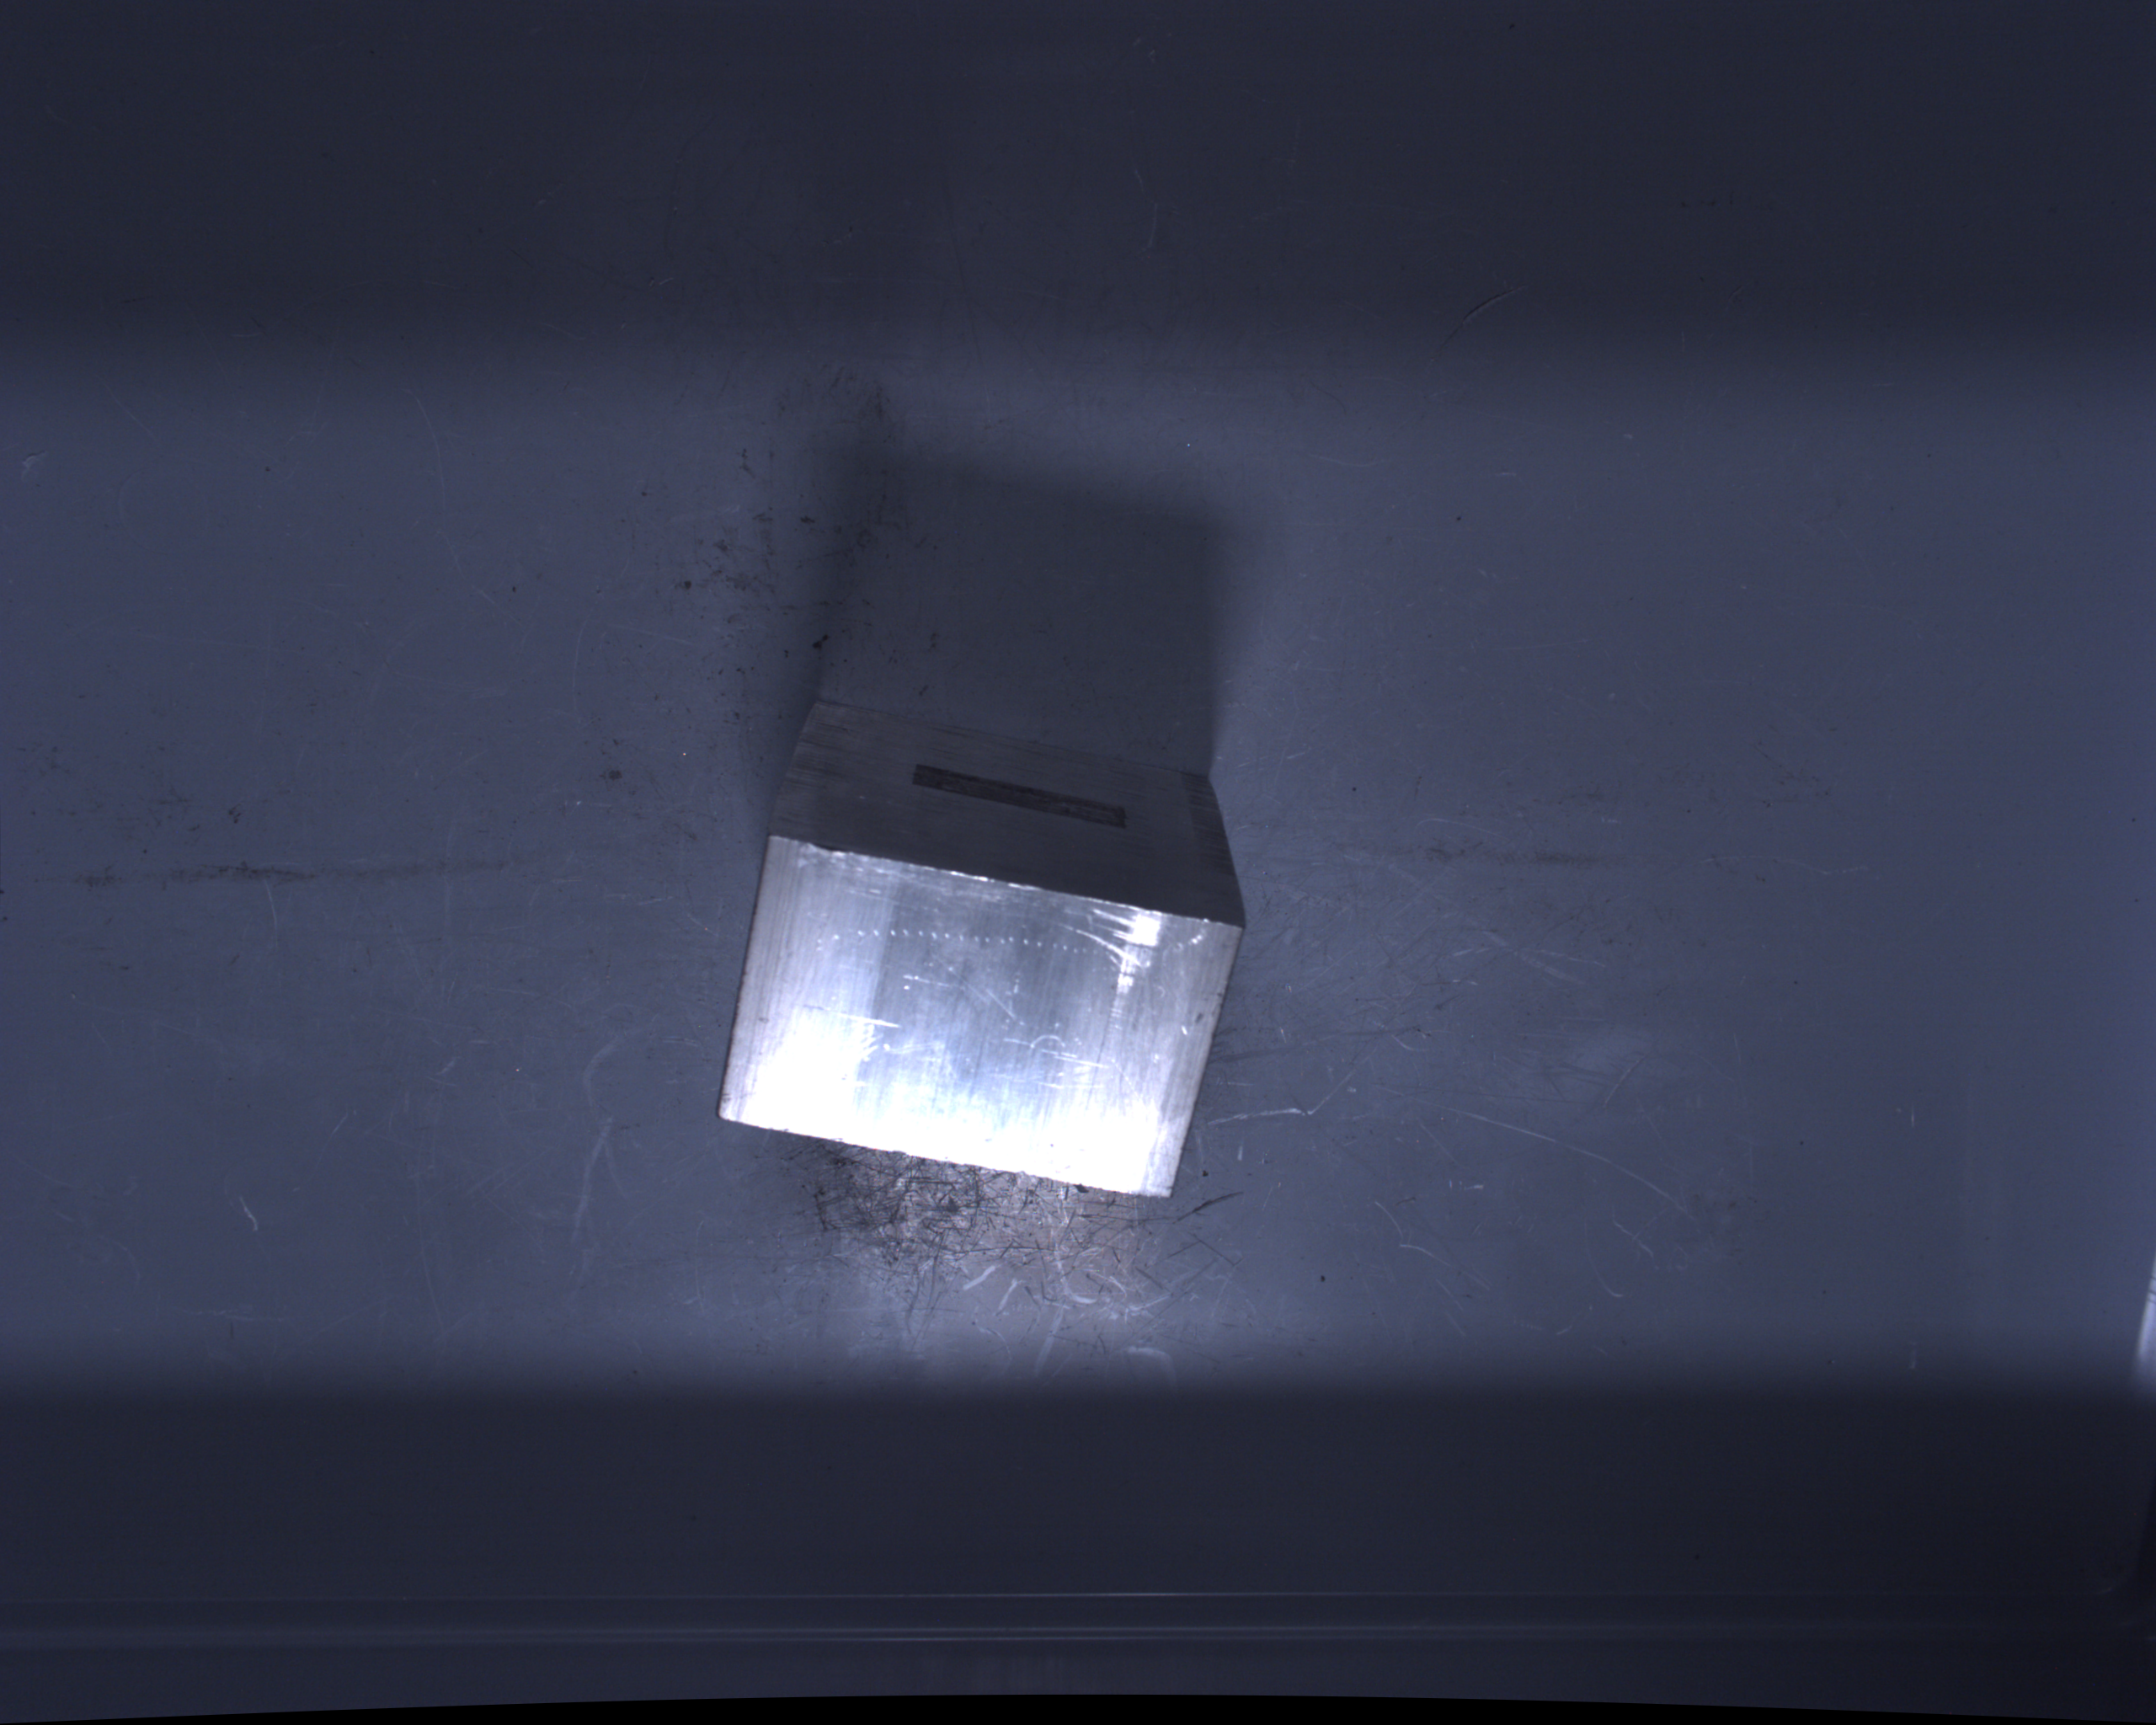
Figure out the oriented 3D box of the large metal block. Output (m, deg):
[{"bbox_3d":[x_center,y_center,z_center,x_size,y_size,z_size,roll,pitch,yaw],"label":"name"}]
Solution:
[{"bbox_3d":[-0.017,0.013,0.384,0.081,0.080,0.050,11,110,-5],"label":"large metal block"}]
